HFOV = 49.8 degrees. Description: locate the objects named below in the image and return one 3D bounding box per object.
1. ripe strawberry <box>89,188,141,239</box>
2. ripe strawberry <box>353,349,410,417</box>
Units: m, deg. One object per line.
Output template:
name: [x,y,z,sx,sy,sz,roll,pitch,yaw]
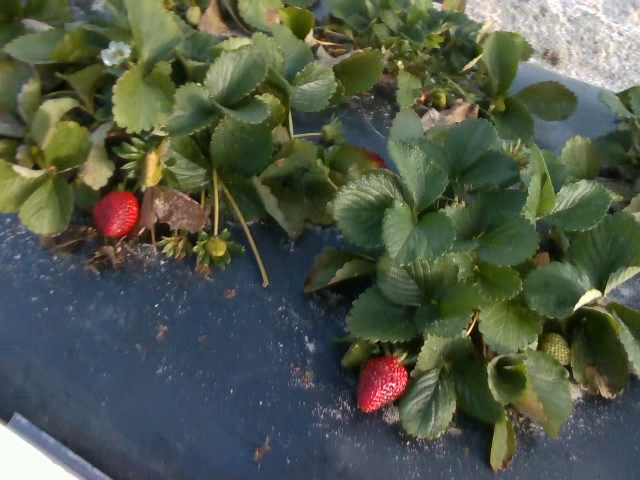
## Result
ripe strawberry: [-0.118,-0.013,0.383,0.031,0.026,0.030,-7,42,-2]
ripe strawberry: [0.028,0.074,0.338,0.029,0.036,0.021,26,-32,20]
